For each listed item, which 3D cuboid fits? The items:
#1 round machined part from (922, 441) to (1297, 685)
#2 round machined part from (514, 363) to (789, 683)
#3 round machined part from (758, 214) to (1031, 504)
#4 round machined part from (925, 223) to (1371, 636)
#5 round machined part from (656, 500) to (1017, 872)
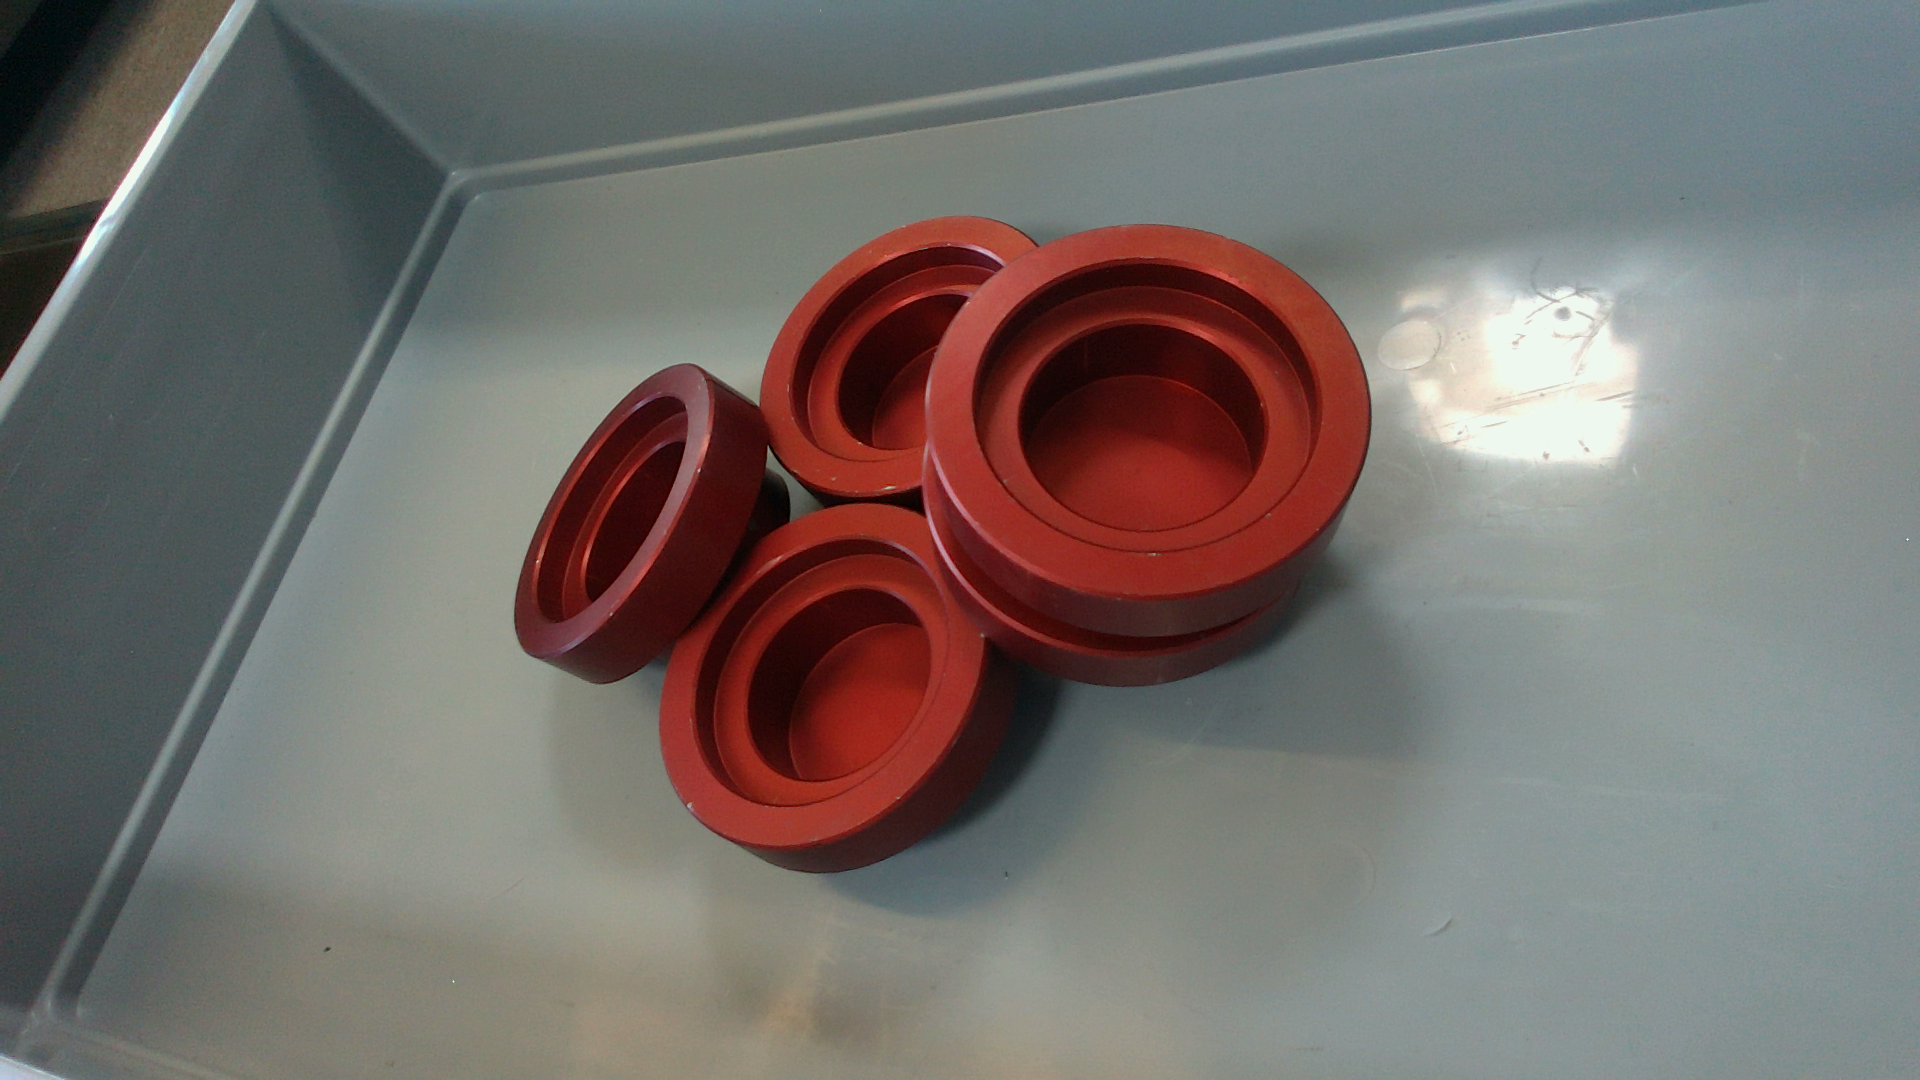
[{"bbox_3d":[0.041,-0.009,0.351,0.098,0.042,0.098,-1,63,3],"label":"round machined part"},{"bbox_3d":[-0.089,-0.002,0.417,0.098,0.042,0.098,-32,41,33],"label":"round machined part"},{"bbox_3d":[-0.008,-0.046,0.413,0.098,0.042,0.098,-13,56,21],"label":"round machined part"},{"bbox_3d":[0.042,-0.022,0.322,0.098,0.042,0.098,-1,63,3],"label":"round machined part"},{"bbox_3d":[-0.029,0.042,0.370,0.098,0.042,0.098,-13,56,21],"label":"round machined part"}]
